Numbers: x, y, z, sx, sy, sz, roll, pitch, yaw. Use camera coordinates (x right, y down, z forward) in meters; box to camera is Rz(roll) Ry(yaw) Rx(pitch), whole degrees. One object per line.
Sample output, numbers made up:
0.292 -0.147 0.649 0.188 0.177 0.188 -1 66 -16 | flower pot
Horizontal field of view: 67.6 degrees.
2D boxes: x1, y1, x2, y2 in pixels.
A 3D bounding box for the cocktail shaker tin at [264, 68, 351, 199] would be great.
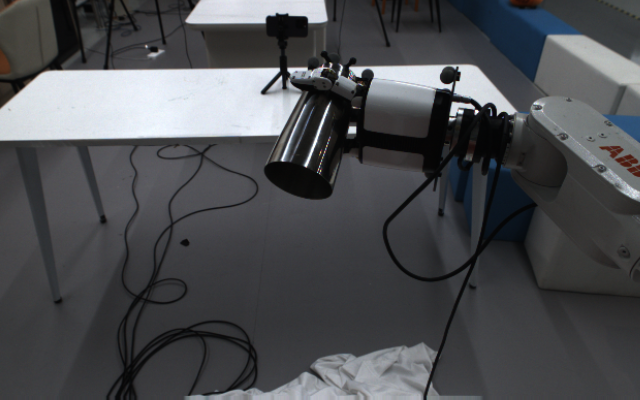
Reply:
0.000 -0.100 0.643 0.093 0.093 0.170 13 65 15 | cocktail shaker tin
